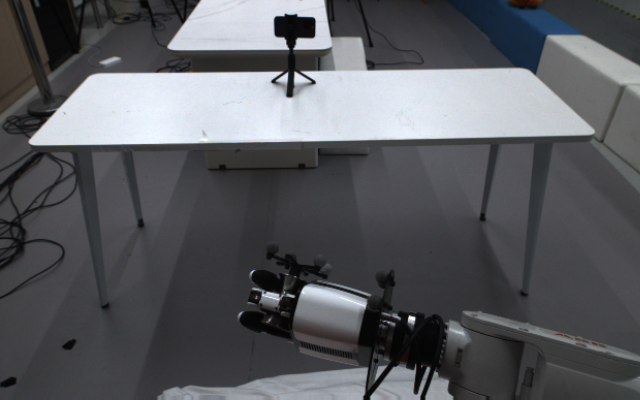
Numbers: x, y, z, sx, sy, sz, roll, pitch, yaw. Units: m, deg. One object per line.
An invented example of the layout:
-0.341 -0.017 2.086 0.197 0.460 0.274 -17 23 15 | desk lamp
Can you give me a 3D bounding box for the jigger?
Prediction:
-0.044 0.135 0.639 0.043 0.043 0.071 13 70 16 | jigger
